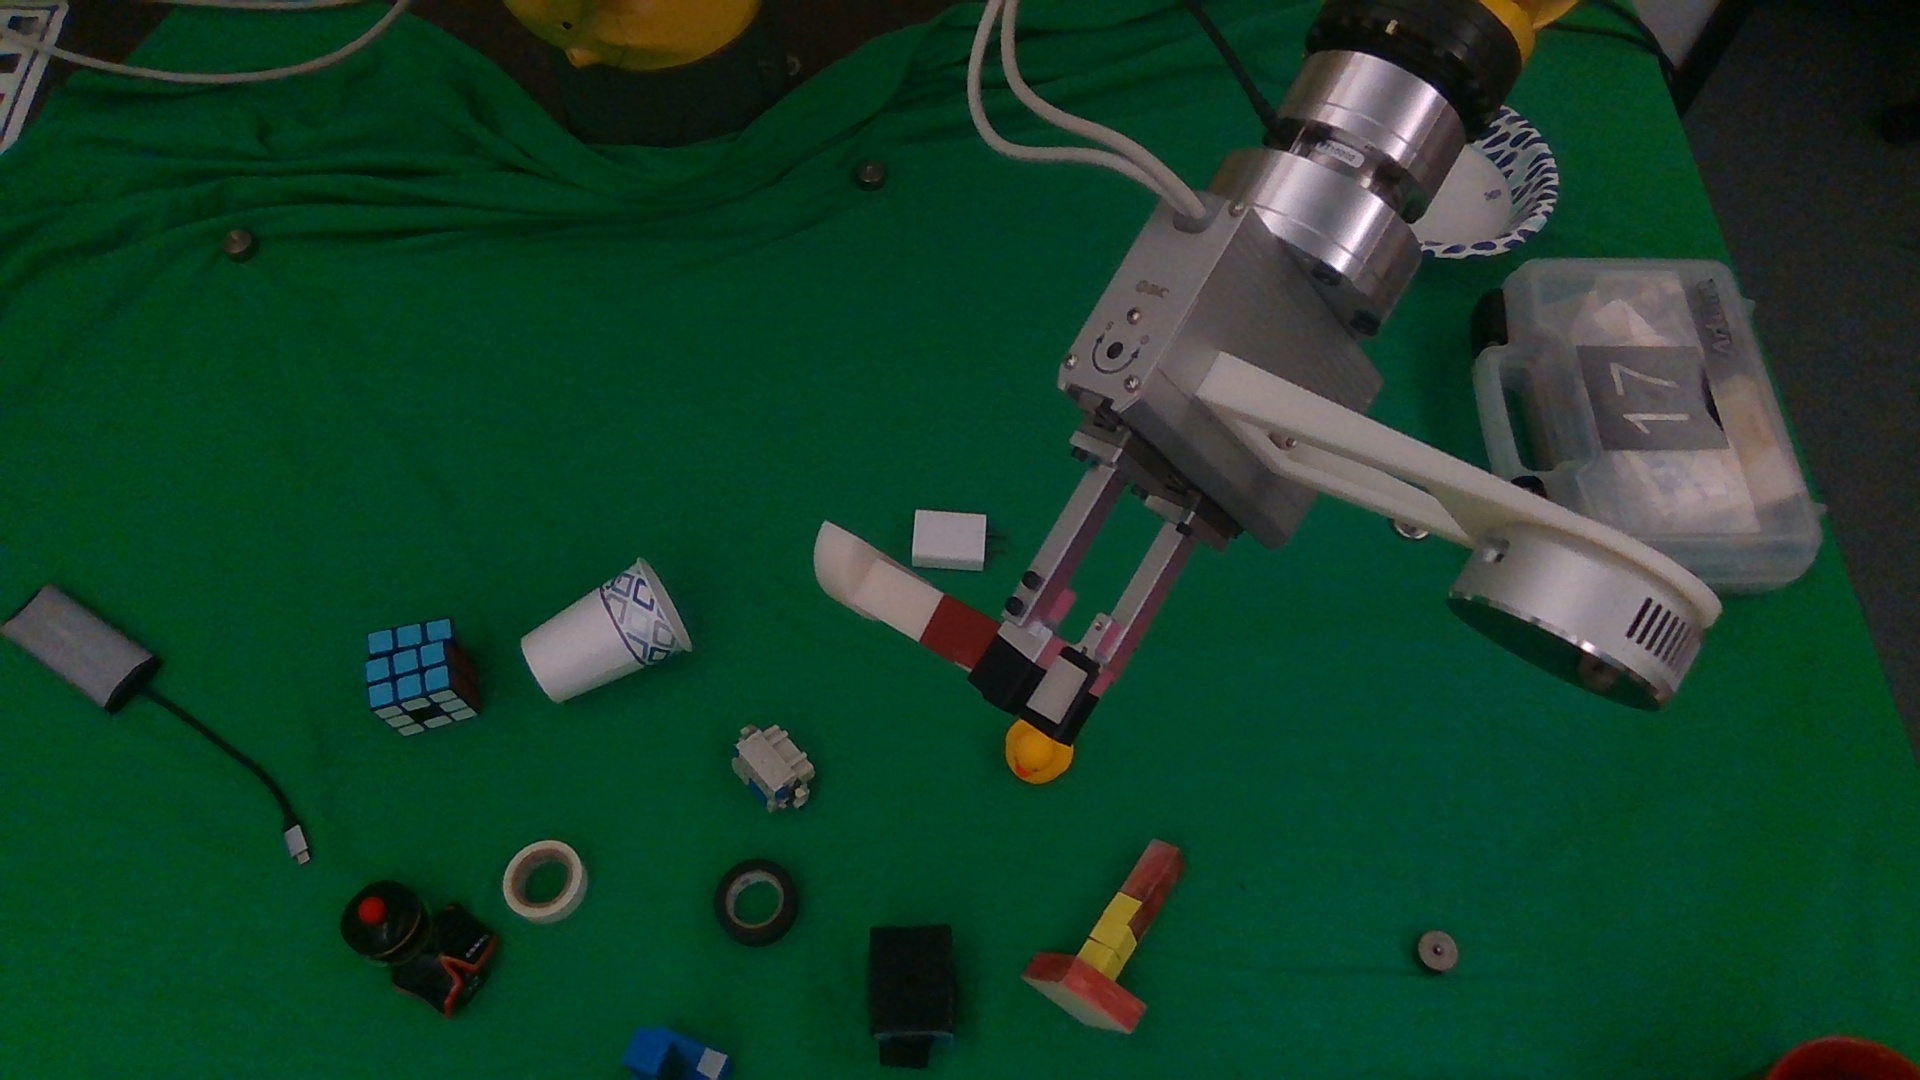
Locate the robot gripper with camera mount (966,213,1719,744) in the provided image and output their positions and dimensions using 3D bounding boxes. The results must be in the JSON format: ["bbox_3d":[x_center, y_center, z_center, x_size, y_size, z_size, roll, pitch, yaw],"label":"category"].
[{"bbox_3d":[0.111,0.016,0.414,0.194,0.118,0.158,27,84,45],"label":"robot gripper with camera mount"}]

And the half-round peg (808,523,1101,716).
[{"bbox_3d":[-0.003,0.029,0.497,0.122,0.054,0.031,24,86,43],"label":"half-round peg"}]
